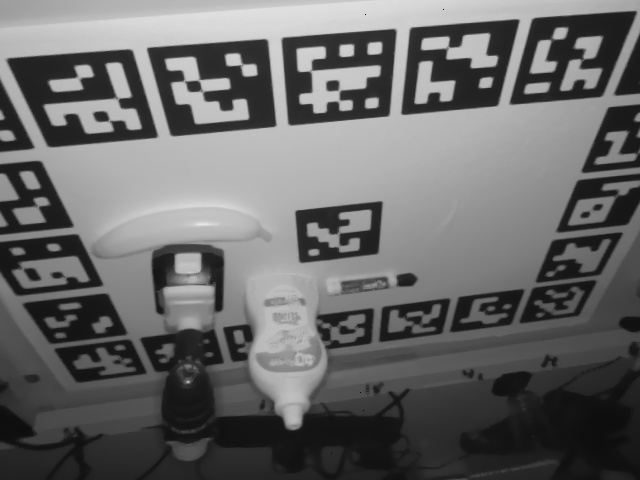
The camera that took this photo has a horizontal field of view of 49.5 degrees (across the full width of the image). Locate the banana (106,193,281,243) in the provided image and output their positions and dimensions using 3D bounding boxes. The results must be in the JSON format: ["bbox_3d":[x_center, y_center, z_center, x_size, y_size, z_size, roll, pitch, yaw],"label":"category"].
[{"bbox_3d":[-0.140,-0.021,0.782,0.199,0.039,0.073,-2,135,-12],"label":"banana"}]

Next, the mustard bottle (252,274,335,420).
[{"bbox_3d":[-0.031,0.129,0.847,0.097,0.192,0.057,3,136,-11],"label":"mustard bottle"}]

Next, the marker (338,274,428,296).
[{"bbox_3d":[0.084,0.060,0.924,0.122,0.020,0.019,-5,136,-6],"label":"marker"}]

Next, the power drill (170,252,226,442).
[{"bbox_3d":[-0.136,0.109,0.779,0.058,0.188,0.182,5,138,-12],"label":"power drill"}]
